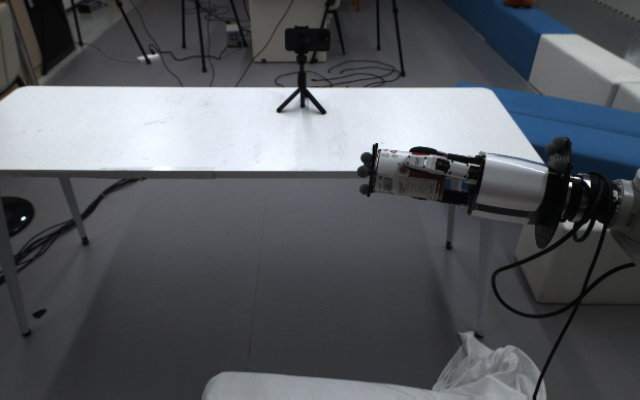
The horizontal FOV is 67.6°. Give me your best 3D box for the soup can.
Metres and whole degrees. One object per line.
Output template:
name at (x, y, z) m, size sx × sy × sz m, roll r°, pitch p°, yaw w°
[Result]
soup can at (0.136, -0.039, 0.724) m, size 0.101 × 0.067 × 0.067 m, roll 7°, pitch 35°, yaw 10°
